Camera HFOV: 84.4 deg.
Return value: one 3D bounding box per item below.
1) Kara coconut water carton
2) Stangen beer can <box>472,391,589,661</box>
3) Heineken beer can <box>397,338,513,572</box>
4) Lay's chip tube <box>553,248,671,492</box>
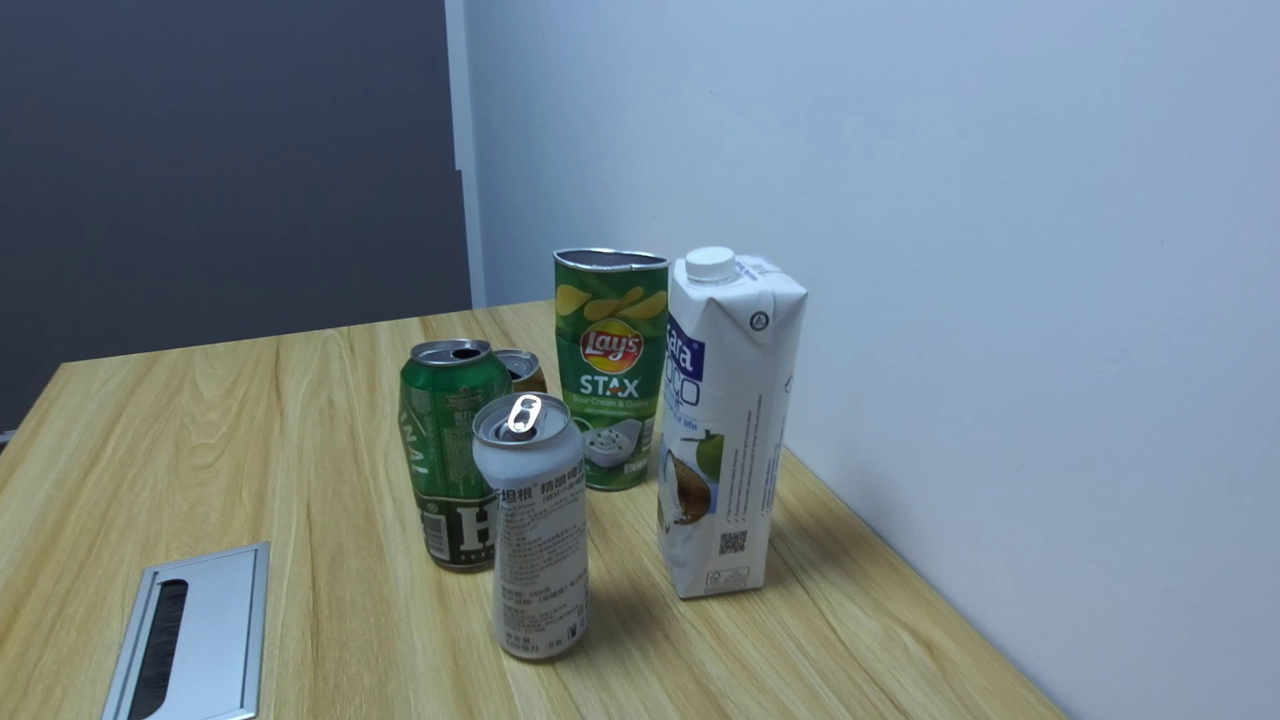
[{"bbox_3d":[0.055,0.044,0.475,0.075,0.245,0.077,-4,28,-14],"label":"Kara coconut water carton"},{"bbox_3d":[-0.068,0.104,0.436,0.069,0.173,0.070,17,31,30],"label":"Stangen beer can"},{"bbox_3d":[-0.127,0.069,0.510,0.068,0.168,0.069,19,29,39],"label":"Heineken beer can"},{"bbox_3d":[-0.023,0.009,0.588,0.075,0.199,0.068,-14,31,-26],"label":"Lay's chip tube"}]
